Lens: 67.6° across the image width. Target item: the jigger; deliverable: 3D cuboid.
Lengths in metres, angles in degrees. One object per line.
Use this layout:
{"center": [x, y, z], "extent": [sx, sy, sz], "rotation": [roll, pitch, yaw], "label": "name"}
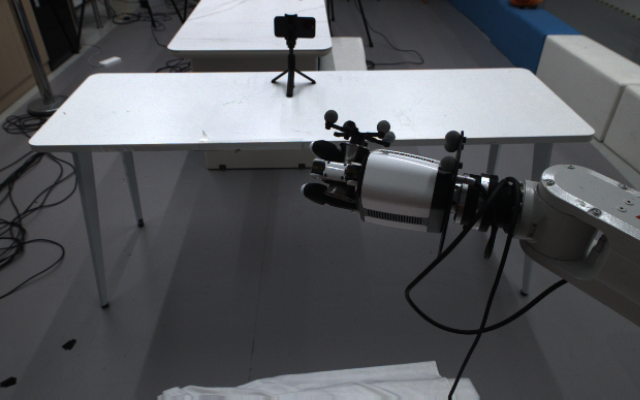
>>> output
{"center": [0.038, -0.035, 0.619], "extent": [0.043, 0.071, 0.043], "rotation": [15, -7, 2], "label": "jigger"}
